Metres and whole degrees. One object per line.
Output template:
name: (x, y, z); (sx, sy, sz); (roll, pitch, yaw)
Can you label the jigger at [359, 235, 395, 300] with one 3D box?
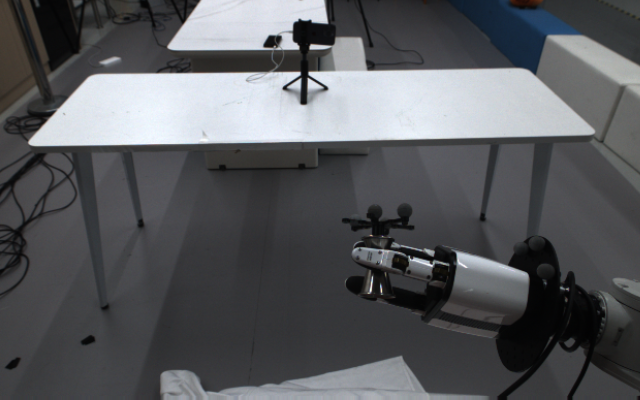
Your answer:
jigger: (0.067, 0.078, 0.569); (0.043, 0.043, 0.071); (3, 75, 1)
